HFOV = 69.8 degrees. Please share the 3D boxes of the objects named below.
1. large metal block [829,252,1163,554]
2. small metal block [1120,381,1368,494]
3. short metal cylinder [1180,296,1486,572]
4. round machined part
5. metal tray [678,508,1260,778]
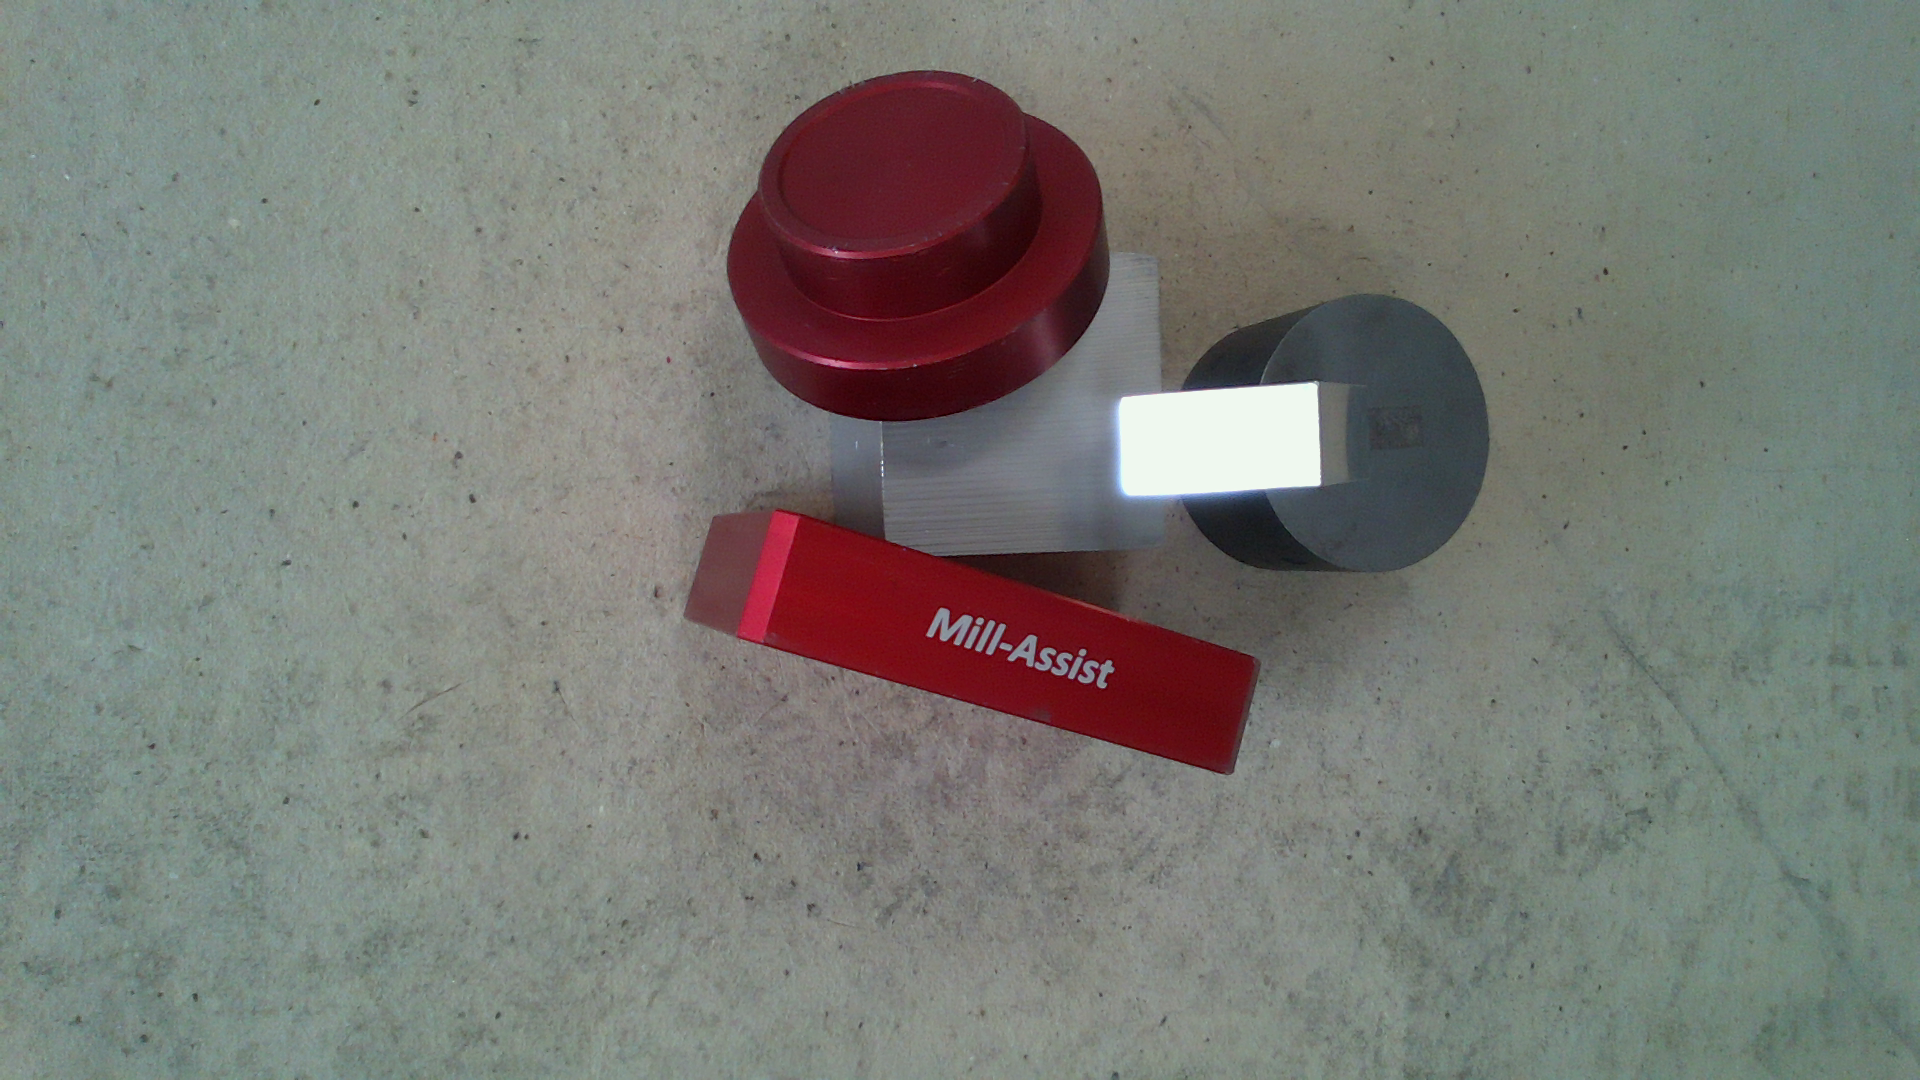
[{"bbox_3d":[0.008,-0.037,0.385,0.080,0.050,0.080,-2,91,-20],"label":"large metal block"},{"bbox_3d":[0.075,-0.027,0.359,0.050,0.050,0.025,-10,98,-61],"label":"small metal block"},{"bbox_3d":[0.111,-0.031,0.422,0.080,0.050,0.080,0,90,-20],"label":"short metal cylinder"},{"bbox_3d":[-0.013,-0.081,0.349,0.098,0.098,0.042,-38,146,-16],"label":"round machined part"},{"bbox_3d":[-0.001,0.026,0.358,0.130,0.090,0.030,18,84,-19],"label":"metal tray"}]
